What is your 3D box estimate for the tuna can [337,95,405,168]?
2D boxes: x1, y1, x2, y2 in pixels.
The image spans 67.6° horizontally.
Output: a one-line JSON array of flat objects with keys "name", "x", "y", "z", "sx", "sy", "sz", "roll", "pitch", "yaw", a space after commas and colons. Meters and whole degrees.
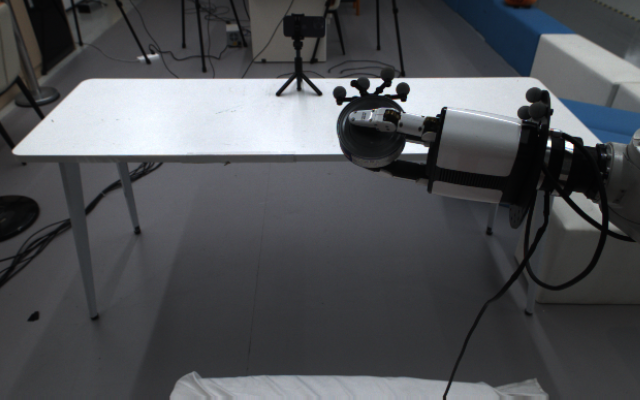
[{"name": "tuna can", "x": 0.065, "y": -0.085, "z": 0.596, "sx": 0.085, "sy": 0.034, "sz": 0.085, "roll": -2, "pitch": 69, "yaw": 6}]
